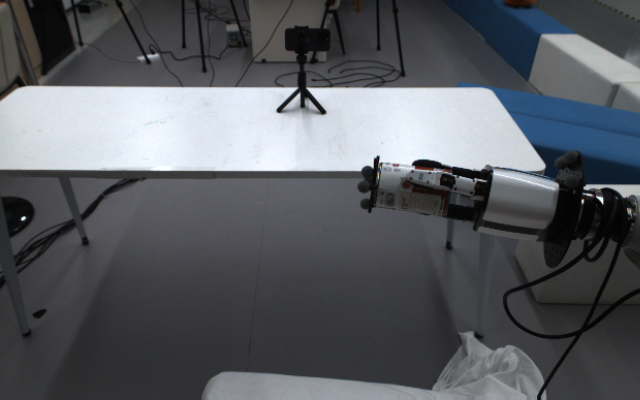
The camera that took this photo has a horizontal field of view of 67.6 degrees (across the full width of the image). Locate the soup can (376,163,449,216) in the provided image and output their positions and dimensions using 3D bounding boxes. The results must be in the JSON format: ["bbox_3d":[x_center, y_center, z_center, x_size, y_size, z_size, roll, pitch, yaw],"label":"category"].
[{"bbox_3d":[0.135,-0.017,0.691,0.101,0.067,0.067,7,35,10],"label":"soup can"}]
